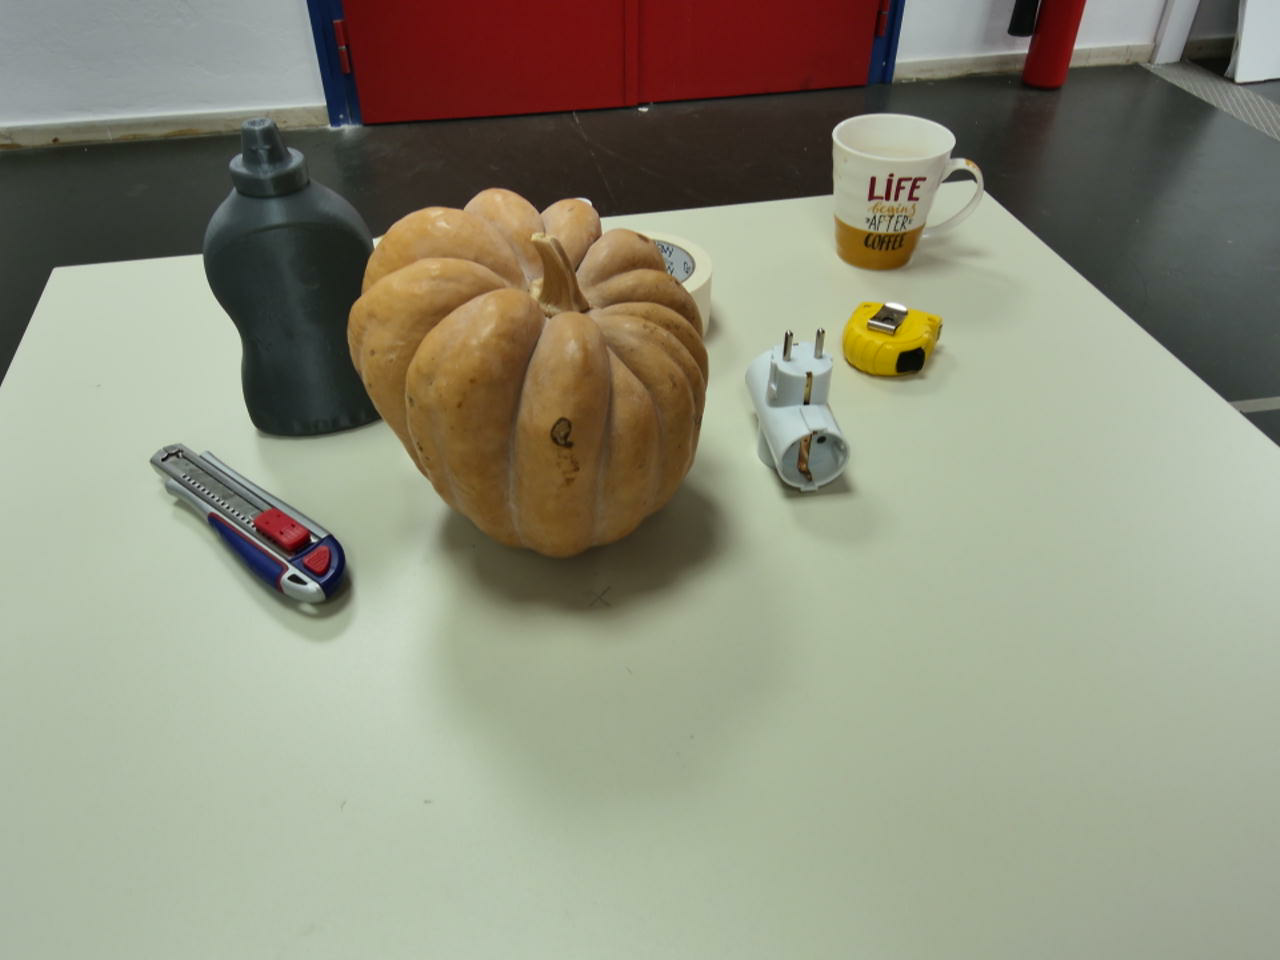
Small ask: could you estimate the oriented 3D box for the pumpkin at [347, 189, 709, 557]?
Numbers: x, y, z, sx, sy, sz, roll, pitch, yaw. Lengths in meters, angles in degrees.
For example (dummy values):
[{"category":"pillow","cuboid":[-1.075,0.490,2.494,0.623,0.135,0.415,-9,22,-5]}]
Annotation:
[{"category":"pumpkin","cuboid":[-0.056,-0.056,0.540,0.199,0.177,0.198,0,39,0]}]
